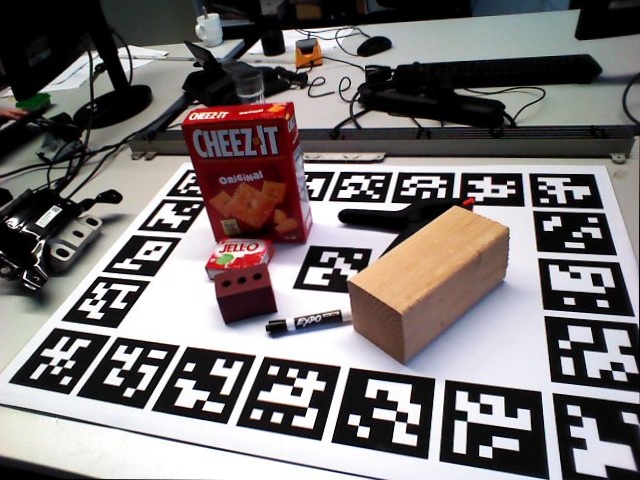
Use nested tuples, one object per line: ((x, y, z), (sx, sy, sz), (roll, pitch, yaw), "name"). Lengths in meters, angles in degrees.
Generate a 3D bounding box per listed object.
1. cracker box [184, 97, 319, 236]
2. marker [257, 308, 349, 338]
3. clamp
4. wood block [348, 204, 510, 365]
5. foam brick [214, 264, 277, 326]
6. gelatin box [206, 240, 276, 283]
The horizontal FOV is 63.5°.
((-0.099, -0.107, 0.804), (0.165, 0.214, 0.071), (1, 39, 13), "cracker box")
((-0.023, 0.109, 0.678), (0.121, 0.020, 0.019), (-11, 40, 2), "marker")
((0.147, -0.030, 0.792), (0.203, 0.037, 0.165), (-18, 39, -7), "clamp")
((0.144, 0.049, 0.658), (0.205, 0.091, 0.090), (-32, 40, -27), "wood block")
((-0.104, 0.076, 0.717), (0.078, 0.051, 0.052), (-14, 40, -2), "foam brick")
((-0.121, 0.033, 0.797), (0.090, 0.030, 0.073), (1, 42, 16), "gelatin box")
